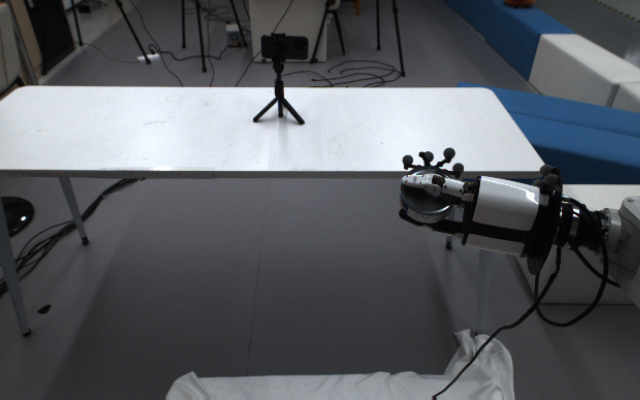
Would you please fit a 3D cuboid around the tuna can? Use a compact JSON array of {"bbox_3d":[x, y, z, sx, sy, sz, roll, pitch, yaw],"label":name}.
[{"bbox_3d":[0.165,-0.013,0.741,0.085,0.034,0.085,-2,56,3],"label":"tuna can"}]
